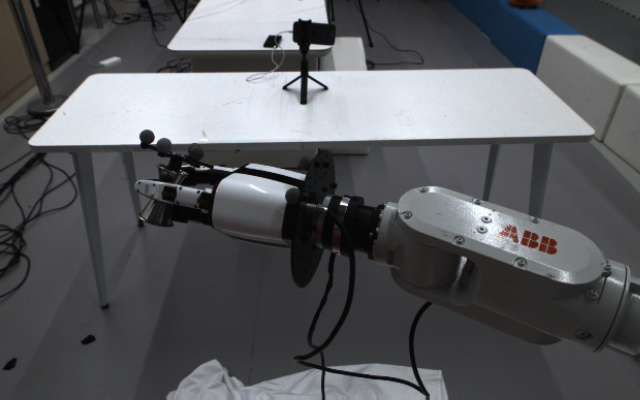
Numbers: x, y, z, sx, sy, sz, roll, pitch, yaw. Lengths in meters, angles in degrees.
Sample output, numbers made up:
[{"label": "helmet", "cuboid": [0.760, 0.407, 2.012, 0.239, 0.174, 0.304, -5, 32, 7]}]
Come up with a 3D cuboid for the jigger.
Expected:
[{"label": "jigger", "cuboid": [-0.190, -0.006, 0.589, 0.043, 0.071, 0.043, 21, 6, -2]}]
